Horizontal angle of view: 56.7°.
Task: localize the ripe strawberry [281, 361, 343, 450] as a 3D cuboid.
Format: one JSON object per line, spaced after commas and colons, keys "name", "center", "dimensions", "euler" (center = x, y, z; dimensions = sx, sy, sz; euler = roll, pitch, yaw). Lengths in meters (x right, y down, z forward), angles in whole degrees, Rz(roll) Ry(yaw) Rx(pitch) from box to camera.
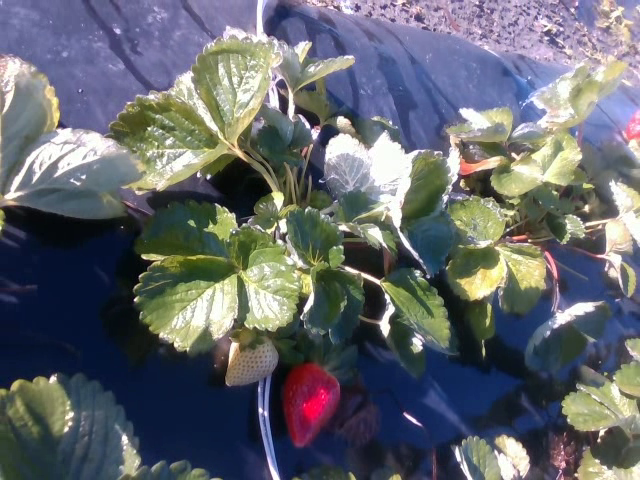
{"name": "ripe strawberry", "center": [-0.001, 0.129, 0.460], "dimensions": [0.040, 0.062, 0.080], "euler": [-5, 39, 22]}
